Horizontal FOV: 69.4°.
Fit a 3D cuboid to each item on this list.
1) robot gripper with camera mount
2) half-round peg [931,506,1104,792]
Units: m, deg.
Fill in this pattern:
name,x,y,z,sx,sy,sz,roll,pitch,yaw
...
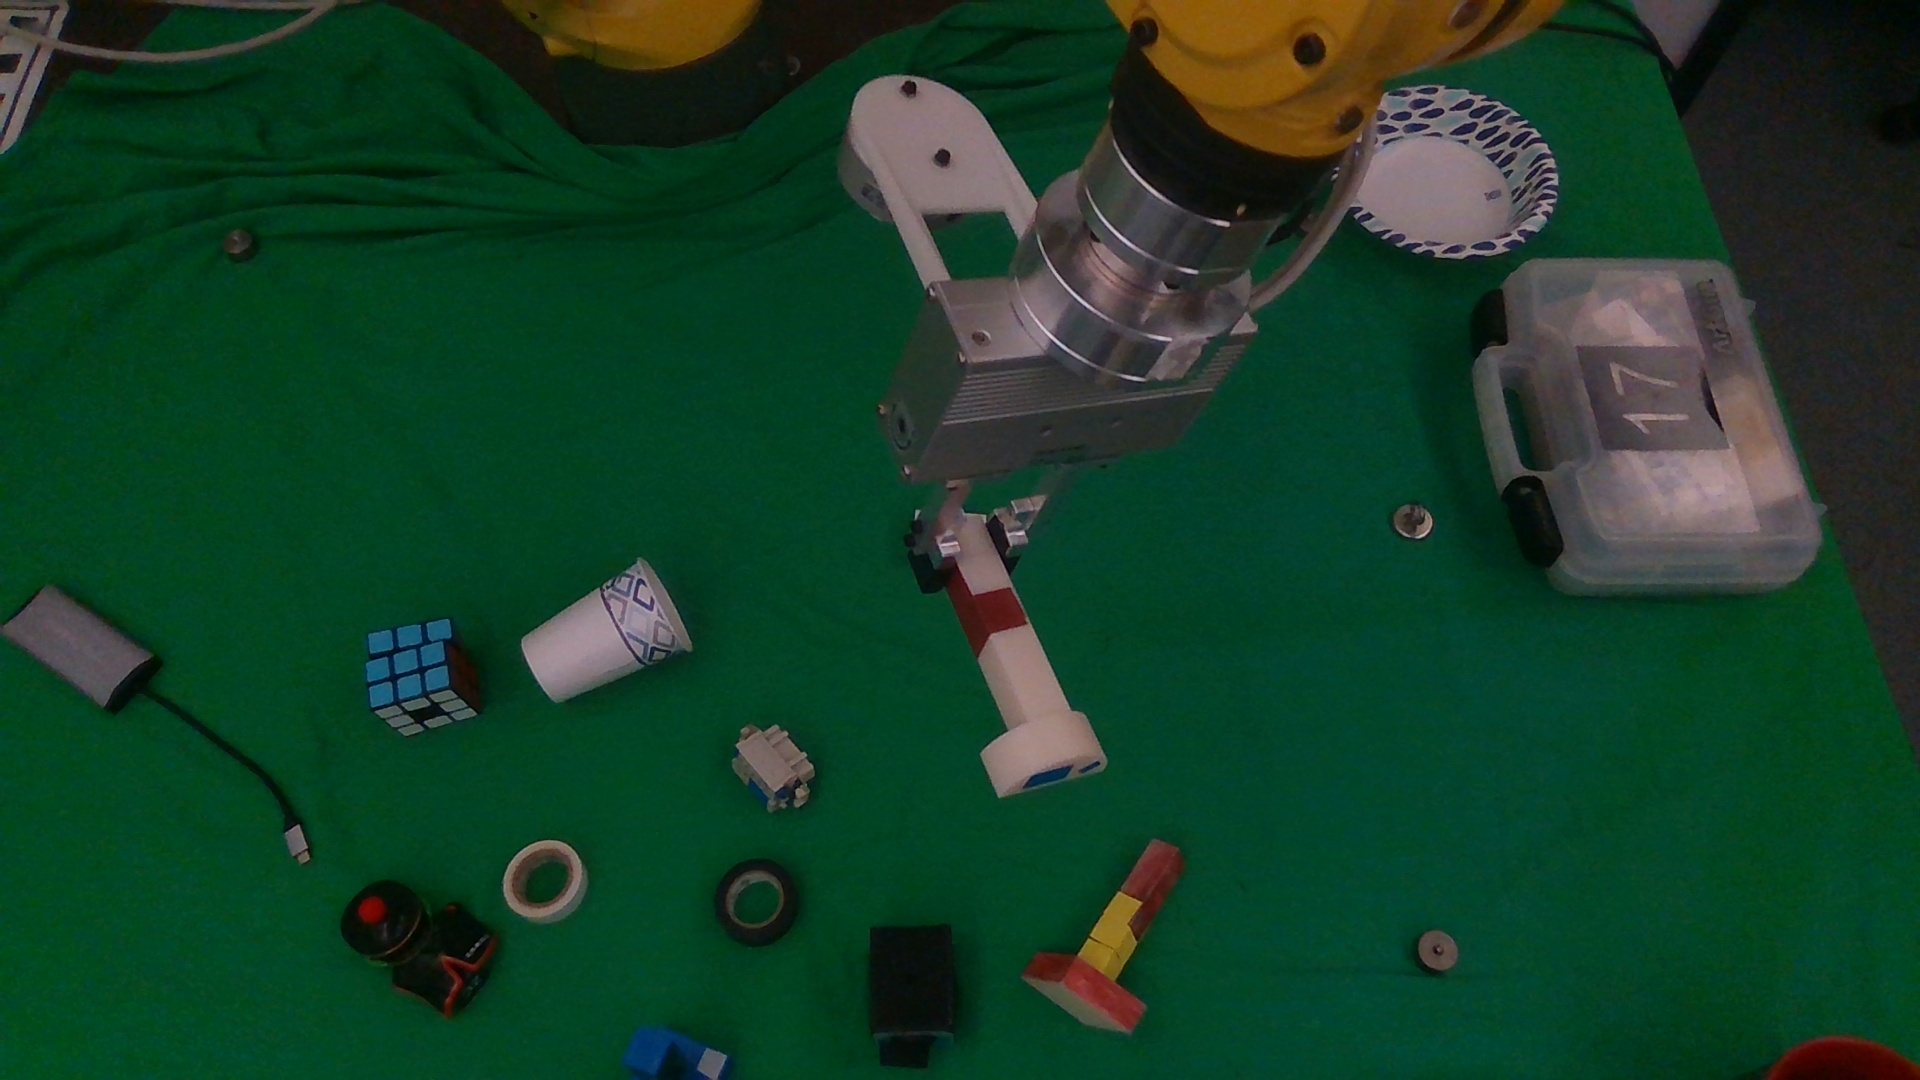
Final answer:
name,x,y,z,sx,sy,sz,roll,pitch,yaw
robot gripper with camera mount,-0.016,-0.109,0.570,0.118,0.159,0.193,-12,61,-27
half-round peg,0.016,0.040,0.568,0.054,0.031,0.122,-9,59,-26
